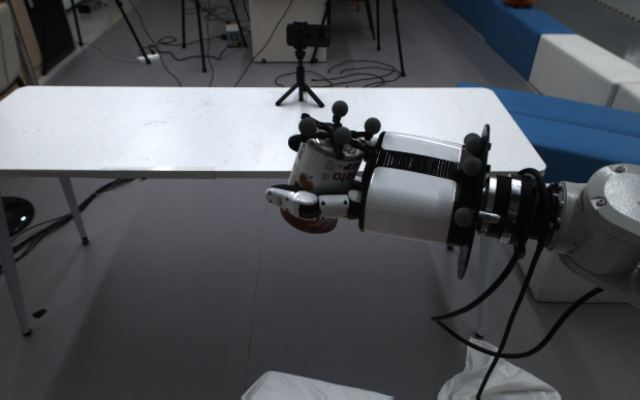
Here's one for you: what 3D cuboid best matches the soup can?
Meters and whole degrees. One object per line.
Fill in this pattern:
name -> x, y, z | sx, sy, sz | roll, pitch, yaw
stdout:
soup can -> 0.004, -0.023, 0.520 | 0.067, 0.101, 0.067 | 14, 35, -10
